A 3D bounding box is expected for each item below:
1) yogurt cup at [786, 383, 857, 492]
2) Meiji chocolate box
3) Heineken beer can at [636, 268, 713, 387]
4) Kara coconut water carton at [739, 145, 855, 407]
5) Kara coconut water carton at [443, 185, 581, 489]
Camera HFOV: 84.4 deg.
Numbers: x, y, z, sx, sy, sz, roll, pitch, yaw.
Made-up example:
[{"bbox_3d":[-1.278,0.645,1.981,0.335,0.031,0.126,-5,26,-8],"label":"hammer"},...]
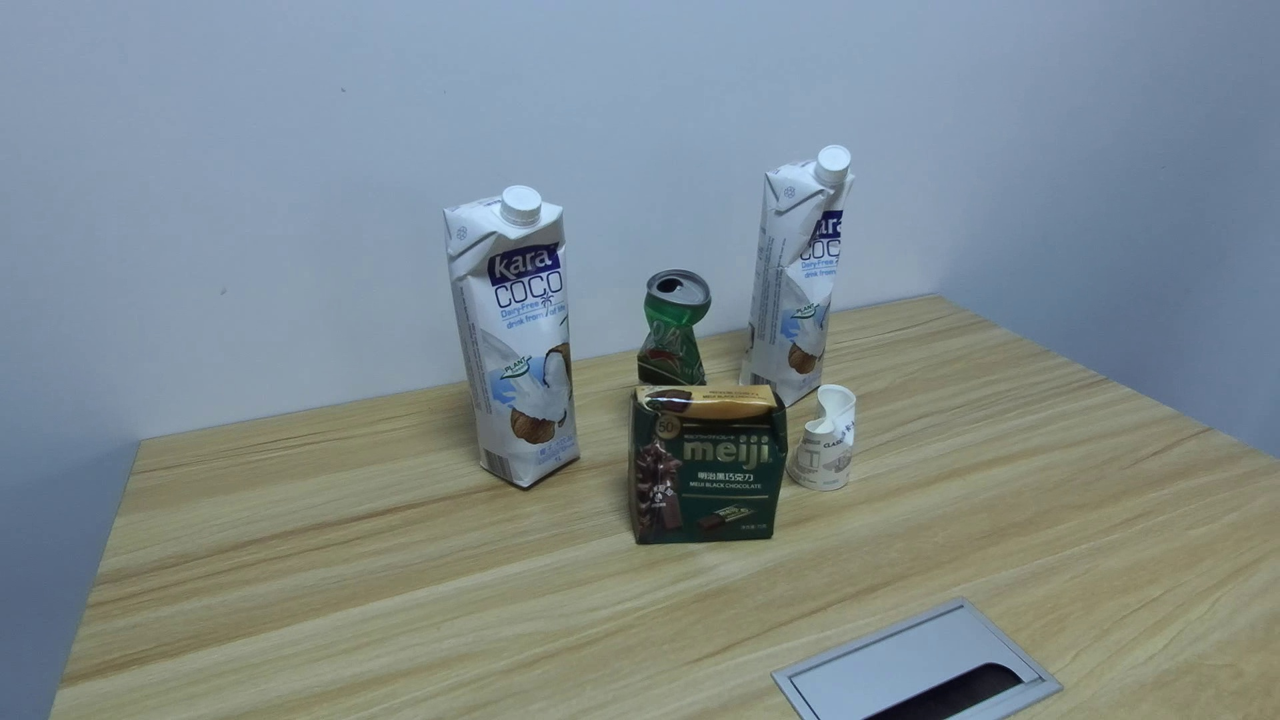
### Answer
[{"bbox_3d":[0.156,0.068,0.604,0.054,0.071,0.075,0,28,-1],"label":"yogurt cup"},{"bbox_3d":[0.049,0.080,0.549,0.113,0.110,0.058,0,17,-3],"label":"Meiji chocolate box"},{"bbox_3d":[0.031,-0.001,0.647,0.067,0.159,0.078,-11,34,-18],"label":"Heineken beer can"},{"bbox_3d":[0.151,-0.081,0.692,0.083,0.255,0.078,-16,33,-31],"label":"Kara coconut water carton"},{"bbox_3d":[-0.099,-0.020,0.582,0.071,0.244,0.100,19,35,36],"label":"Kara coconut water carton"}]
